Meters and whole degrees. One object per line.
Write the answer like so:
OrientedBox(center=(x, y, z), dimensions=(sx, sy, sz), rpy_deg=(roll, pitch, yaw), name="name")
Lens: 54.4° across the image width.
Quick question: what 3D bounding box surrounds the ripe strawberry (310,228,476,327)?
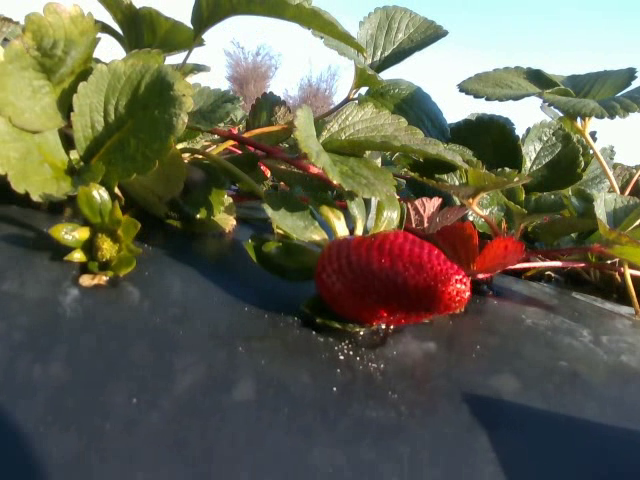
OrientedBox(center=(0.022, 0.010, 0.183), dimensions=(0.040, 0.041, 0.056), rpy_deg=(-28, 17, -30), name="ripe strawberry")
